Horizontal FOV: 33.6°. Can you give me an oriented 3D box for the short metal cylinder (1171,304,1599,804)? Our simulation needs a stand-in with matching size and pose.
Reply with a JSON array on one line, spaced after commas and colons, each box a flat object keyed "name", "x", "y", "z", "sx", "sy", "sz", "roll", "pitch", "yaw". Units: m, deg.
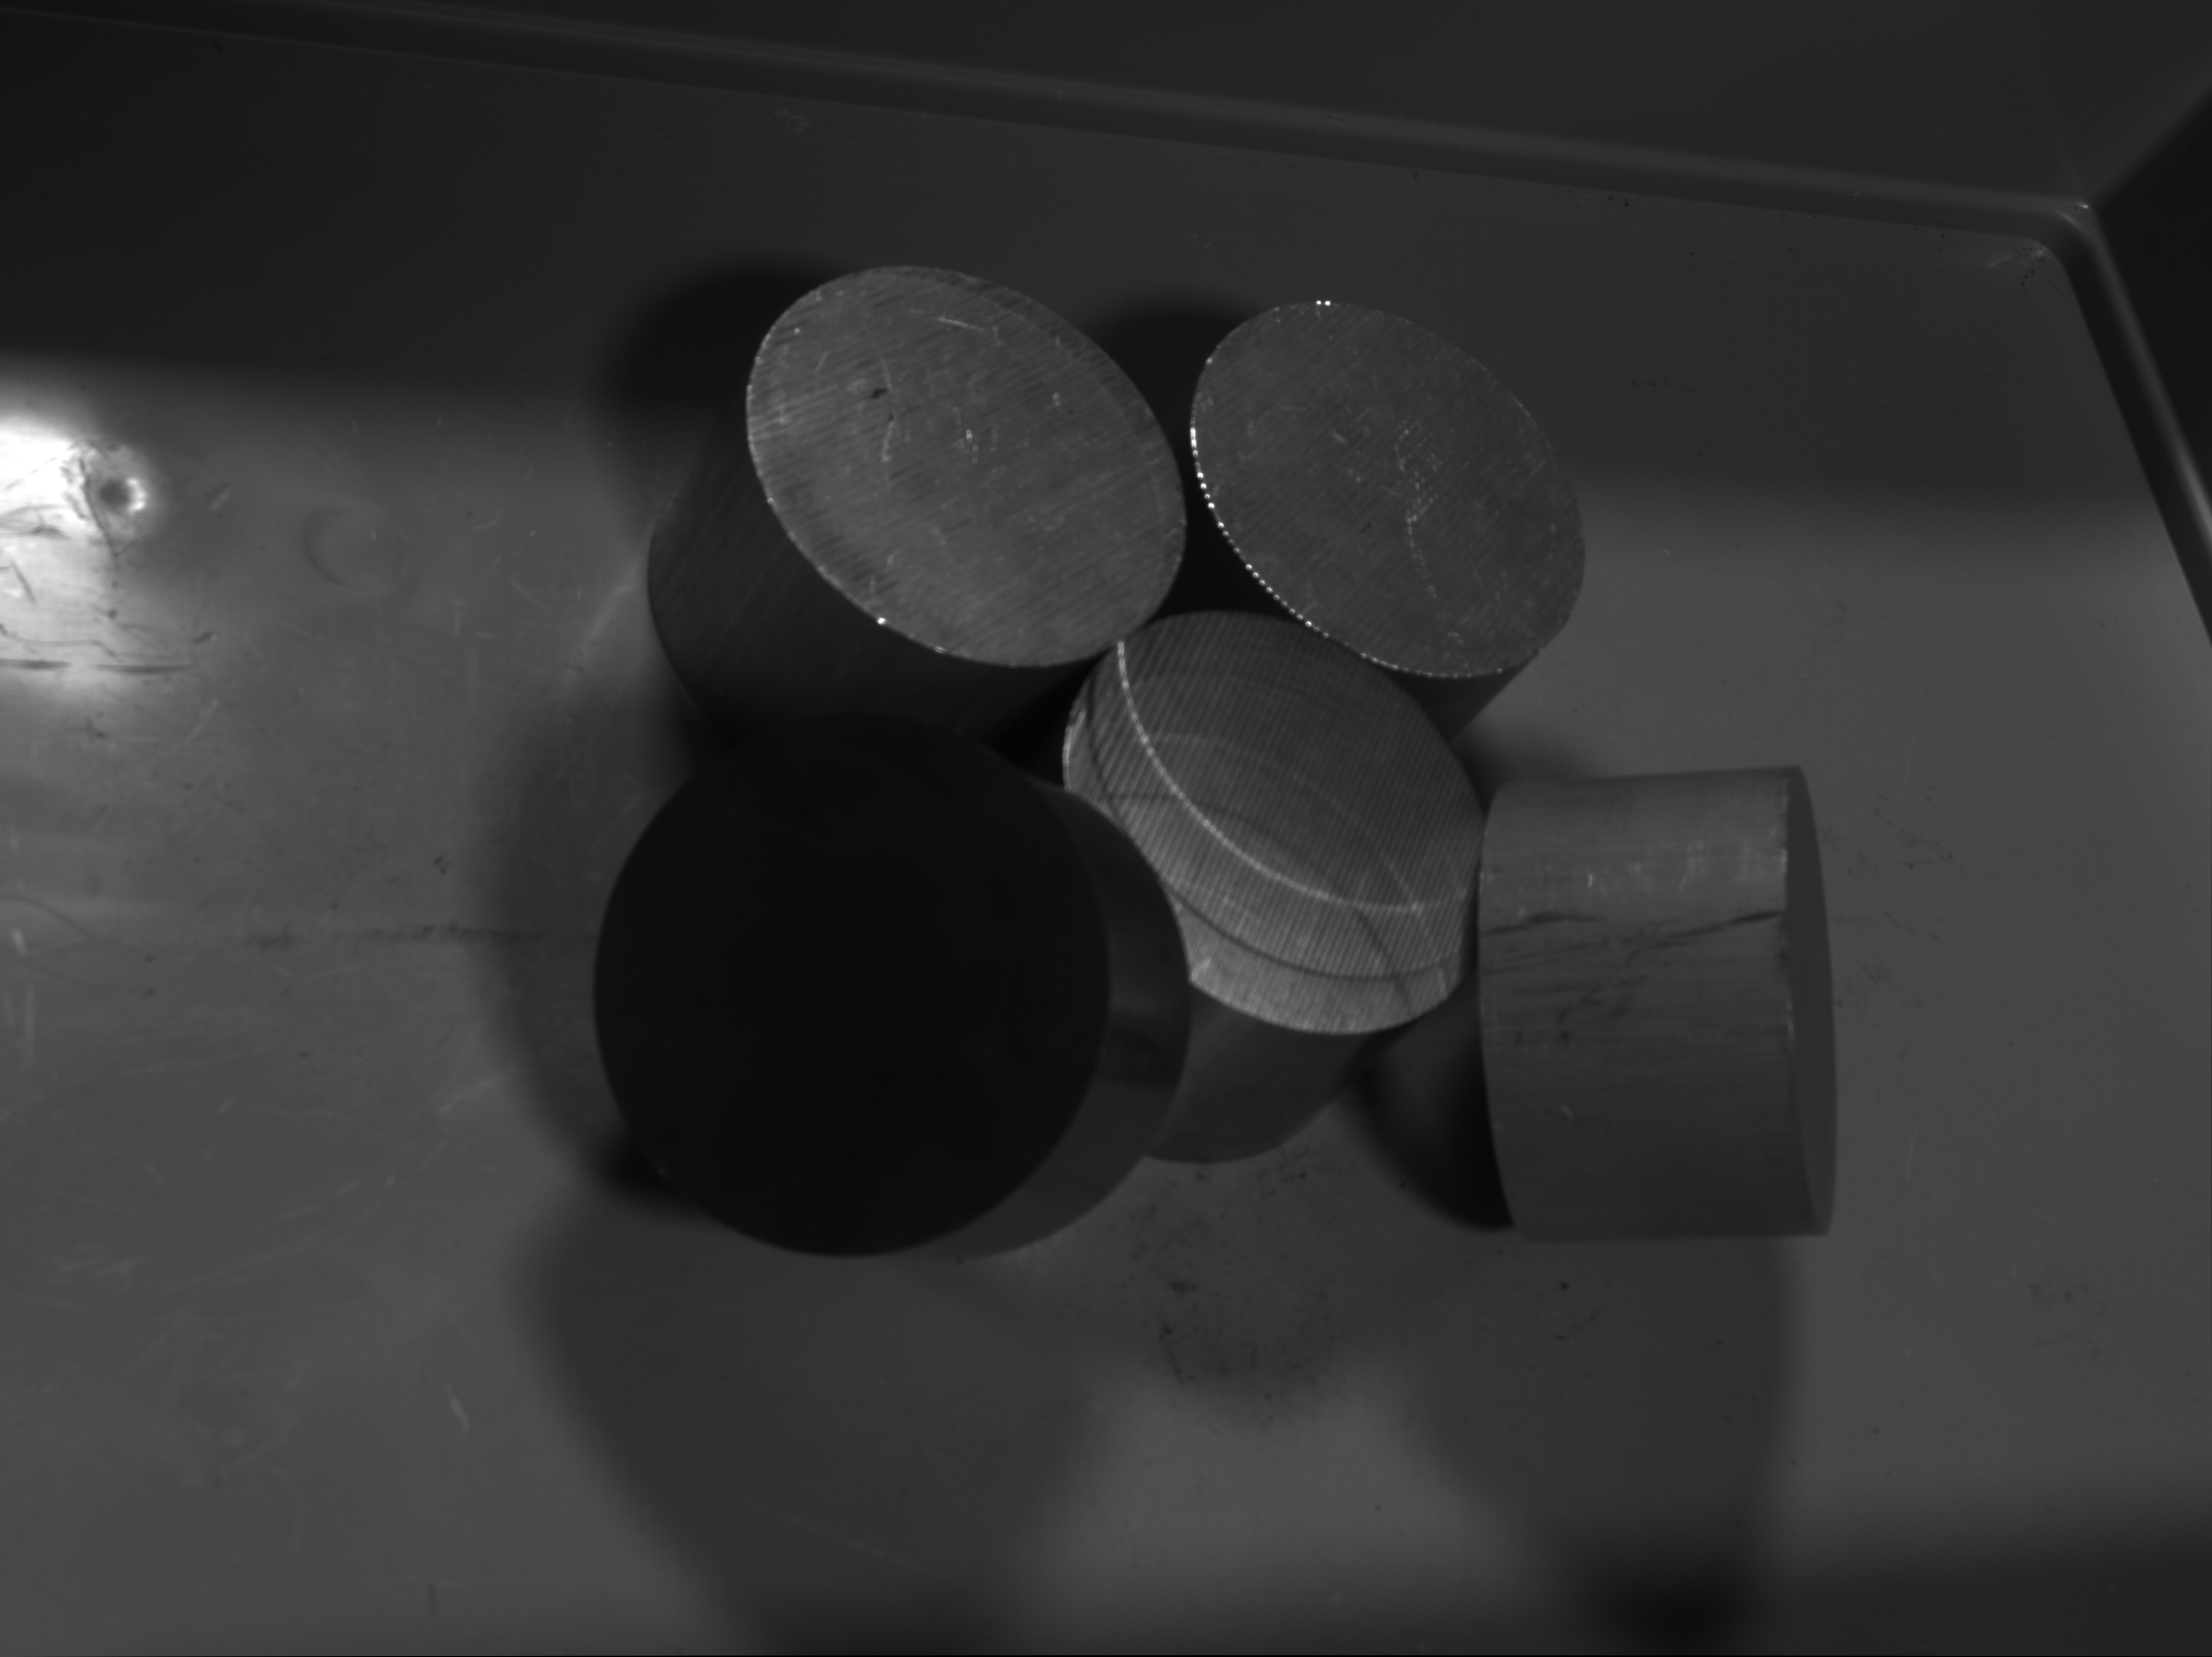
[{"name": "short metal cylinder", "x": 0.043, "y": -0.049, "z": 0.676, "sx": 0.080, "sy": 0.050, "sz": 0.080, "roll": 14, "pitch": 56, "yaw": -21}]

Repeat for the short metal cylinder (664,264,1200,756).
[{"name": "short metal cylinder", "x": -0.031, "y": -0.050, "z": 0.635, "sx": 0.080, "sy": 0.050, "sz": 0.080, "roll": 14, "pitch": 56, "yaw": -21}]

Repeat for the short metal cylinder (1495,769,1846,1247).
[{"name": "short metal cylinder", "x": 0.099, "y": 0.031, "z": 0.629, "sx": 0.050, "sy": 0.080, "sz": 0.080, "roll": -4, "pitch": 55, "yaw": 16}]

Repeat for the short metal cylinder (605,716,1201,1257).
[{"name": "short metal cylinder", "x": -0.030, "y": 0.026, "z": 0.564, "sx": 0.080, "sy": 0.080, "sz": 0.050, "roll": 59, "pitch": 9, "yaw": 14}]

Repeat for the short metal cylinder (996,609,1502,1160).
[{"name": "short metal cylinder", "x": 0.022, "y": 0.010, "z": 0.626, "sx": 0.080, "sy": 0.050, "sz": 0.080, "roll": 14, "pitch": 56, "yaw": -21}]
